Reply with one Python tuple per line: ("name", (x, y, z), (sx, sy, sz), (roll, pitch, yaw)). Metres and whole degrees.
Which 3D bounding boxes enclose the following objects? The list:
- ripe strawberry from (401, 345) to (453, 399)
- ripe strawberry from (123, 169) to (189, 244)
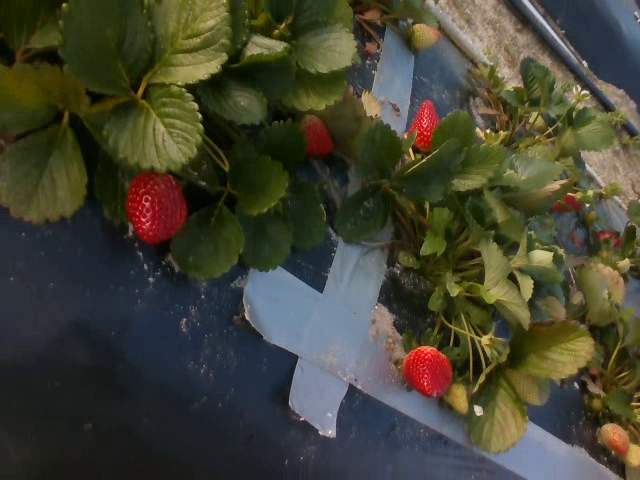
("ripe strawberry", (0.041, 0.051, 0.216), (0.023, 0.021, 0.026), (32, 27, -2))
("ripe strawberry", (-0.044, -0.007, 0.156), (0.018, 0.023, 0.021), (19, -44, -15))
